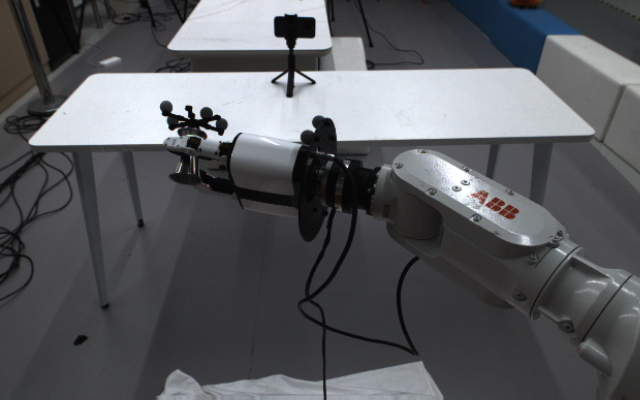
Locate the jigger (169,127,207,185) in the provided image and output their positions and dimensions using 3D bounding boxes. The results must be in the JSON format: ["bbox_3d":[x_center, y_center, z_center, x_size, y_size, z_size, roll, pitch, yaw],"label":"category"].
[{"bbox_3d":[-0.179,-0.060,0.657,0.043,0.043,0.071,3,73,1],"label":"jigger"}]
